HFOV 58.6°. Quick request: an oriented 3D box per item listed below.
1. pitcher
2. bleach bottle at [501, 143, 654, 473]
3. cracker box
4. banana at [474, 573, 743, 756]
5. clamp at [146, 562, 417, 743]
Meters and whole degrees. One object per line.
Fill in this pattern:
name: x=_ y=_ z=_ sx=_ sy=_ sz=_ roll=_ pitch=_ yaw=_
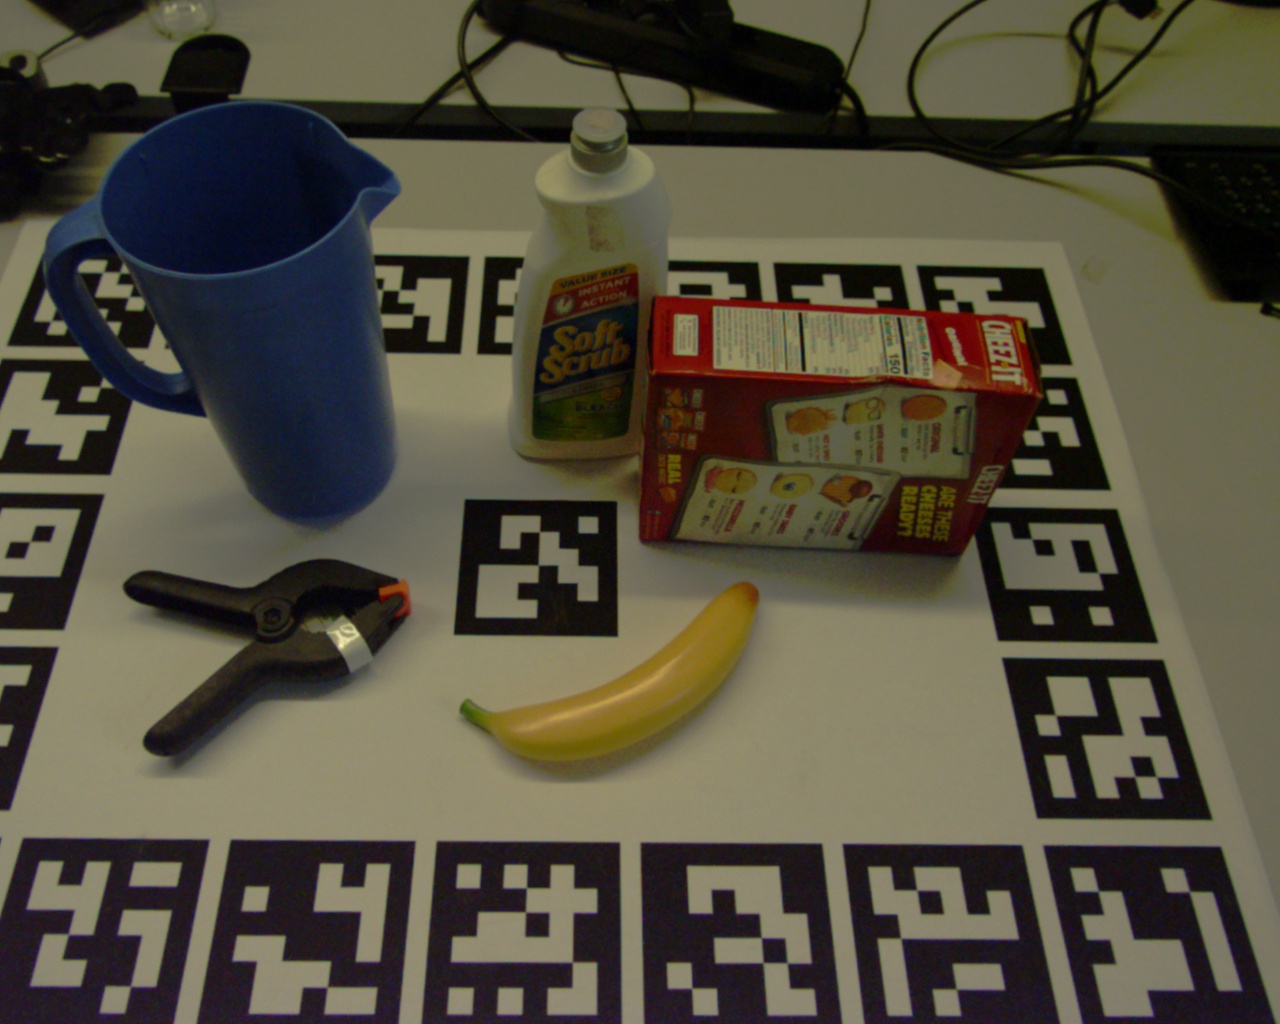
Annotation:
pitcher: x=-0.230 y=-0.106 z=0.698 sx=0.187 sy=0.242 sz=0.134 roll=-14 pitch=56 yaw=-15
bleach bottle: x=-0.045 y=-0.126 z=0.742 sx=0.102 sy=0.250 sz=0.068 roll=1 pitch=54 yaw=-2
cracker box: x=0.109 y=-0.046 z=0.724 sx=0.214 sy=0.163 sz=0.072 roll=2 pitch=52 yaw=0
banana: x=-0.003 y=0.100 z=0.720 sx=0.196 sy=0.039 sz=0.075 roll=-29 pitch=60 yaw=-20
clamp: x=-0.223 y=0.073 z=0.722 sx=0.164 sy=0.036 sz=0.123 roll=-12 pitch=55 yaw=-13
